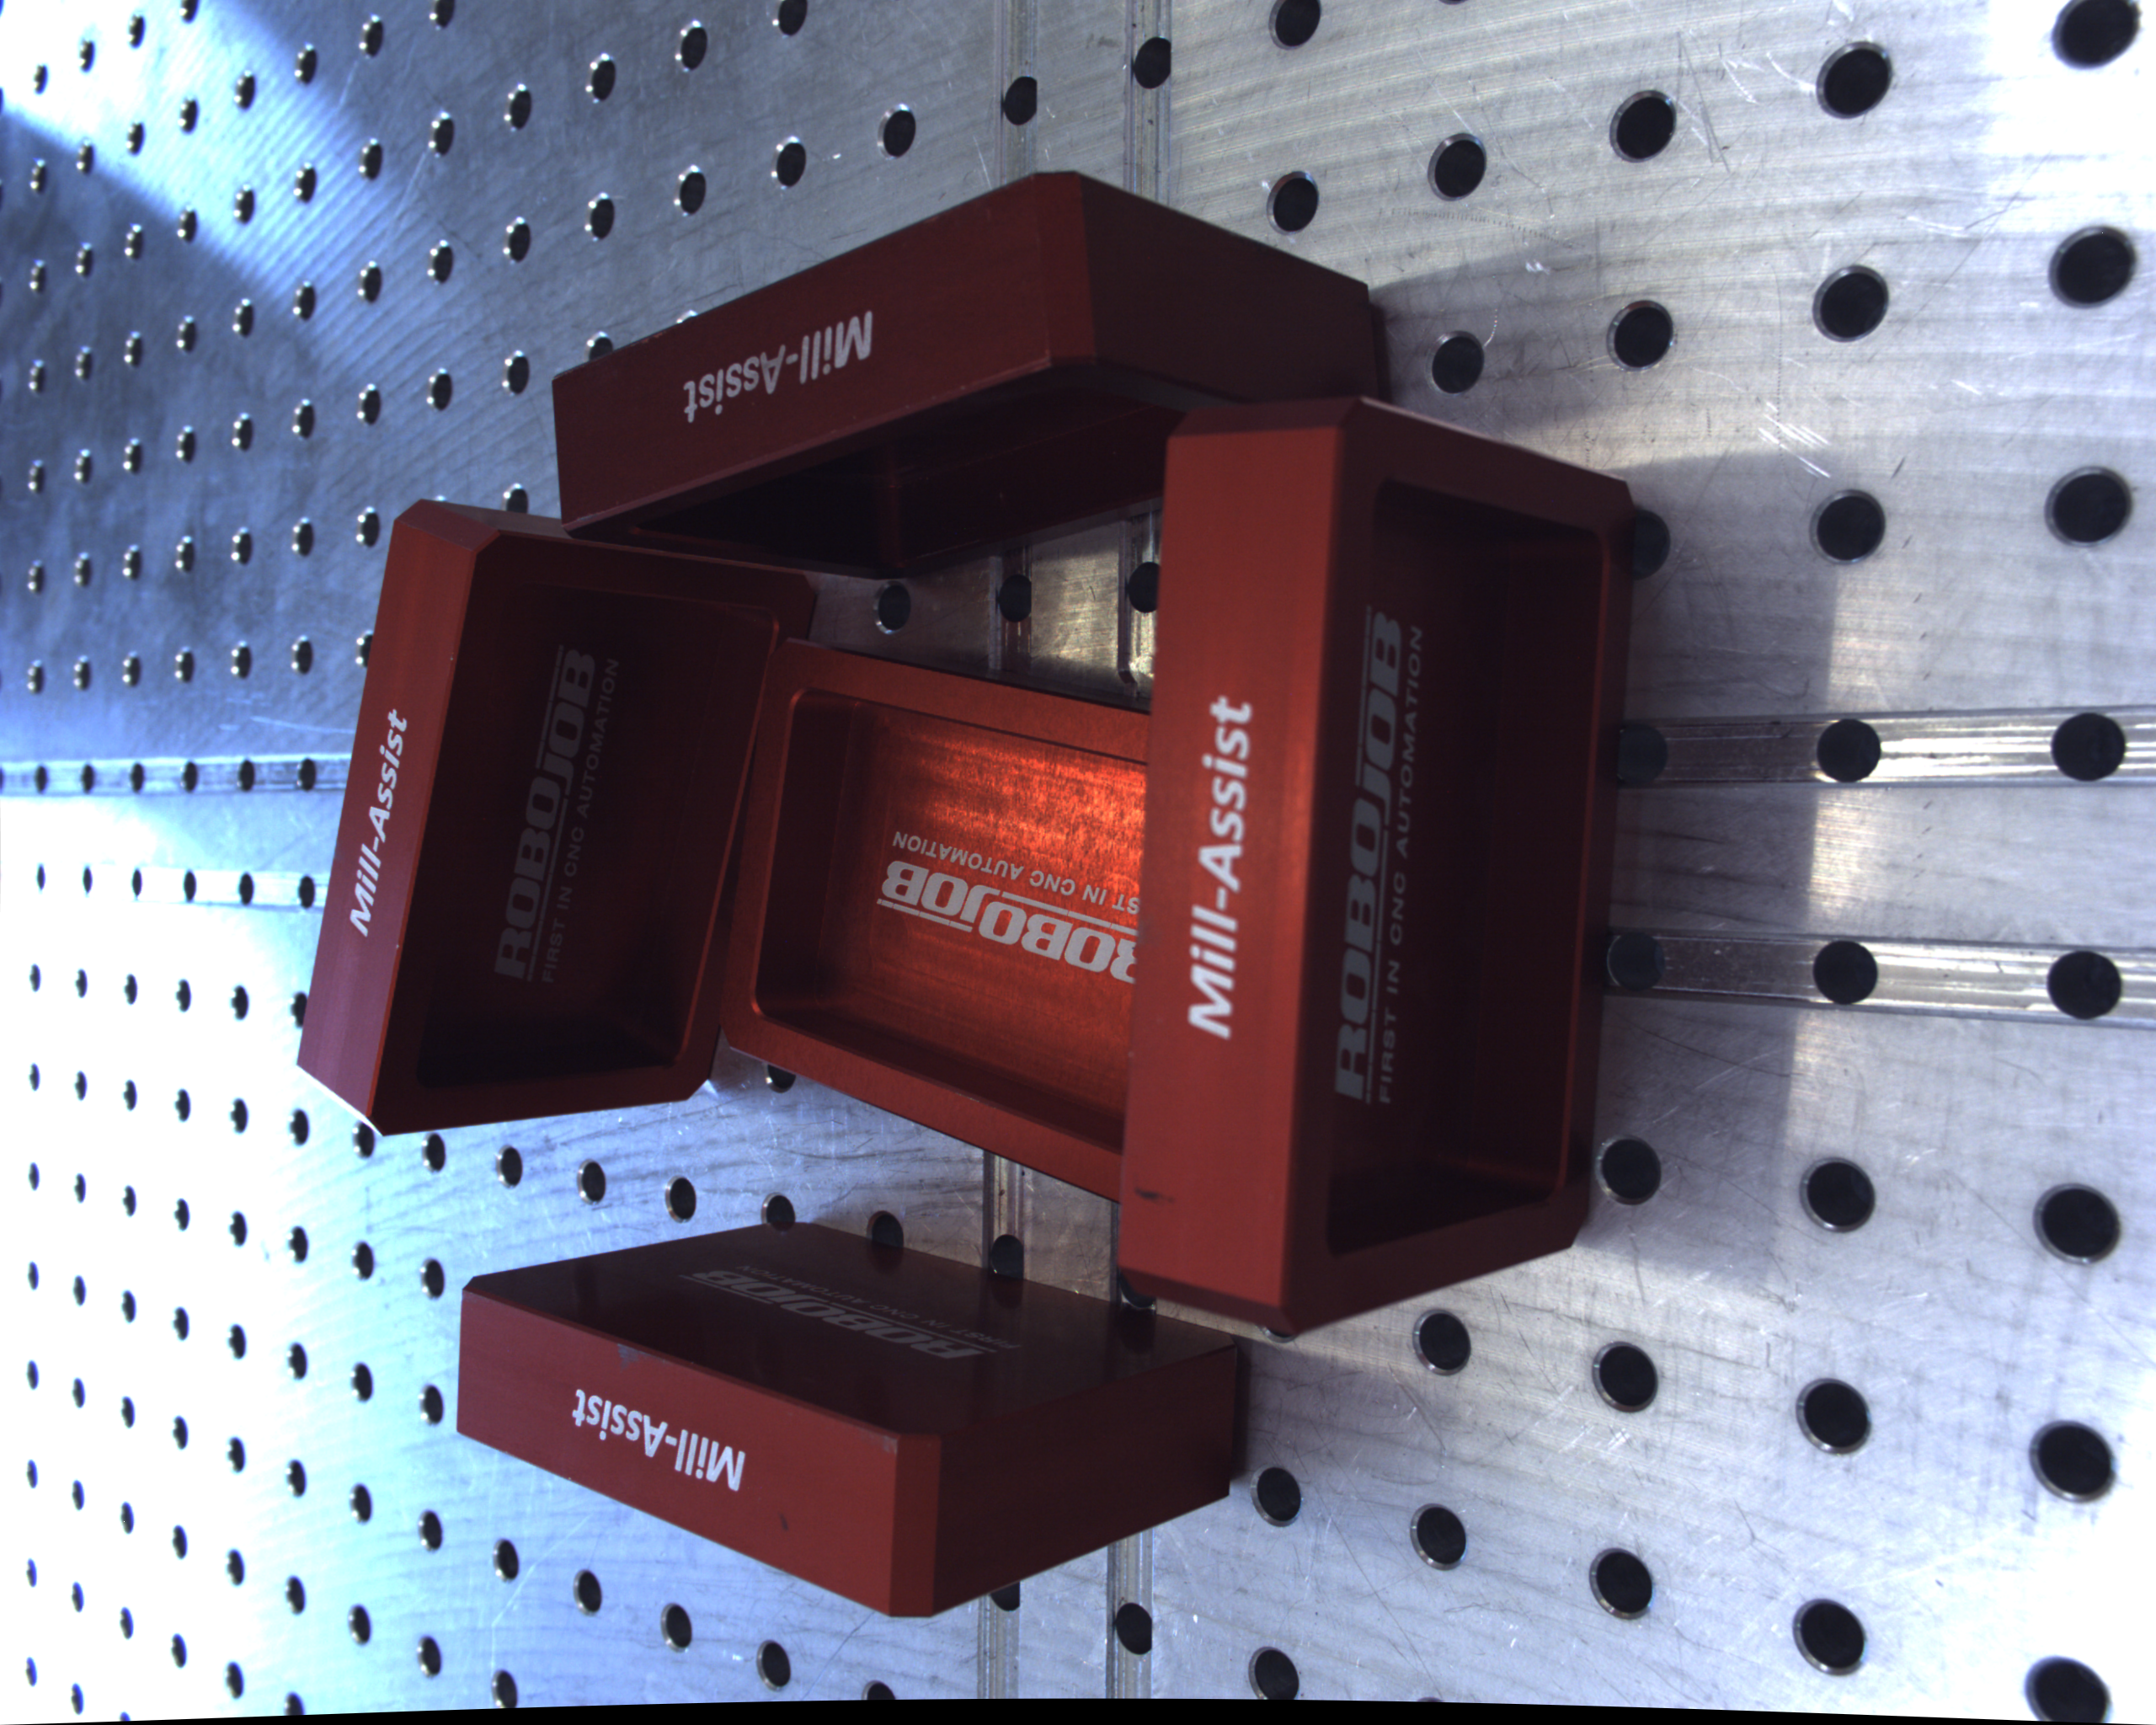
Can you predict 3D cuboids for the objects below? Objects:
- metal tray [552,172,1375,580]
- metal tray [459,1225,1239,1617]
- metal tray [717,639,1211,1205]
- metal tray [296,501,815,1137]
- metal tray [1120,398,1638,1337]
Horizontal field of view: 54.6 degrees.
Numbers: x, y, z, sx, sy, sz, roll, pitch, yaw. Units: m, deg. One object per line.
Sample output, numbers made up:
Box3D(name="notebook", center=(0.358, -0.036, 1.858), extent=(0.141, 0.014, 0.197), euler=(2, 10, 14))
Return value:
Box3D(name="metal tray", center=(-0.022, -0.083, 0.386), extent=(0.130, 0.091, 0.030), euler=(-8, 85, 40))
Box3D(name="metal tray", center=(-0.046, 0.102, 0.406), extent=(0.130, 0.091, 0.030), euler=(5, 94, 40))
Box3D(name="metal tray", center=(-0.014, 0.009, 0.418), extent=(0.130, 0.030, 0.089), euler=(15, 99, 39))
Box3D(name="metal tray", center=(-0.114, -0.008, 0.462), extent=(0.030, 0.091, 0.129), euler=(23, 105, 38))
Box3D(name="metal tray", center=(0.050, 0.000, 0.326), extent=(0.030, 0.091, 0.129), euler=(6, 94, 40))
